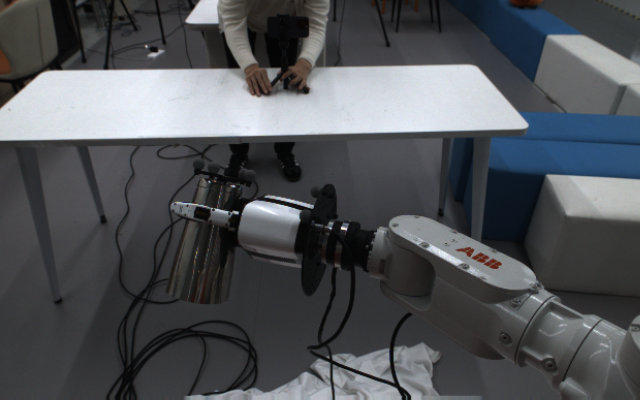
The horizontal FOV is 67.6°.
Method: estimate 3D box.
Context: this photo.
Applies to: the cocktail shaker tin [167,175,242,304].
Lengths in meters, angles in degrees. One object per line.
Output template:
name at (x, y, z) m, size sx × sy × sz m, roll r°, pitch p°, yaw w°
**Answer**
cocktail shaker tin at (-0.160, 0.055, 0.712) m, size 0.093 × 0.170 × 0.093 m, roll 12°, pitch 2°, yaw 0°
